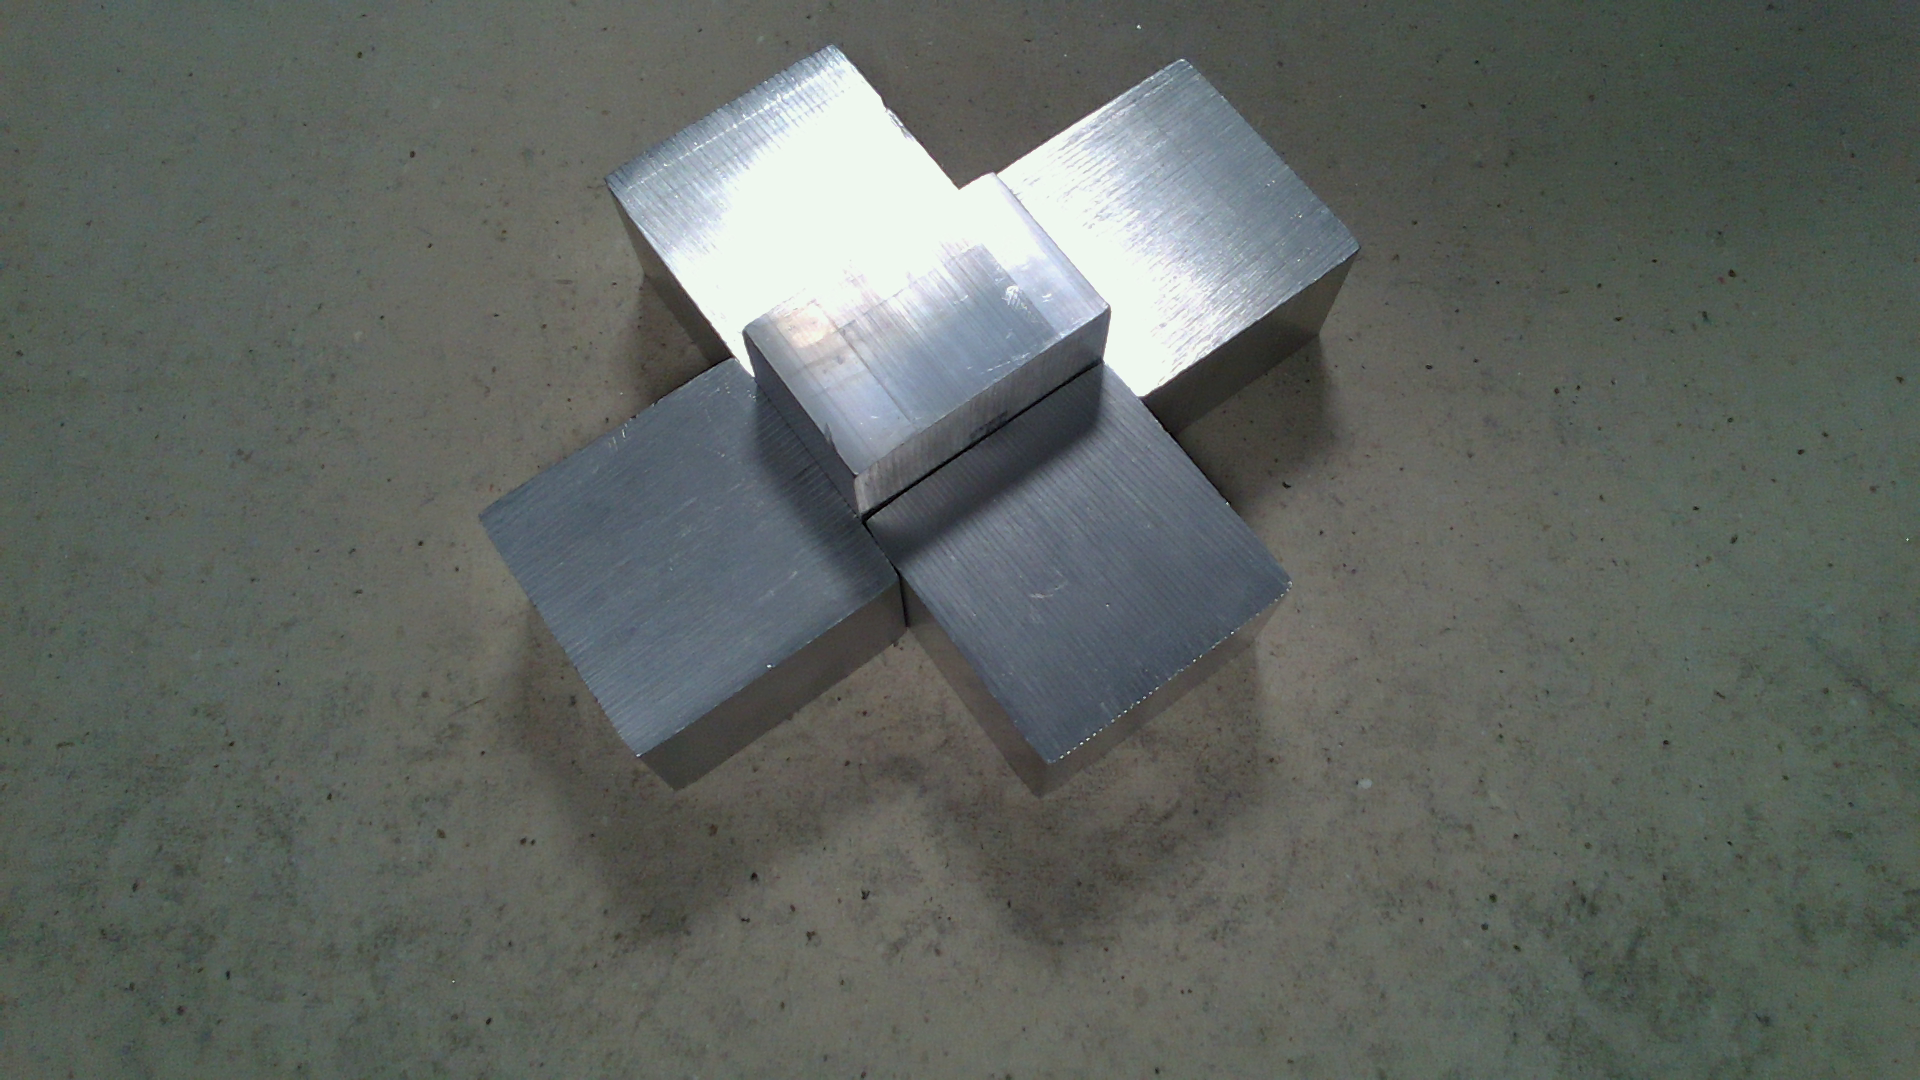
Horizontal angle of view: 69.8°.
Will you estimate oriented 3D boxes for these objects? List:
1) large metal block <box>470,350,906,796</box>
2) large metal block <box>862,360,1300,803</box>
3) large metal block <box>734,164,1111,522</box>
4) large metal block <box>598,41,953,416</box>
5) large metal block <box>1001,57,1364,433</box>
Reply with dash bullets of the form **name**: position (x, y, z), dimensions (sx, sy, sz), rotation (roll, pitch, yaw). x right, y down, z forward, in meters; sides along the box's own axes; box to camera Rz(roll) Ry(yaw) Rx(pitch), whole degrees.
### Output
- **large metal block**: position (-0.071, 0.010, 0.377), dimensions (0.080, 0.050, 0.080), rotation (-35, 74, -12)
- **large metal block**: position (0.031, 0.012, 0.376), dimensions (0.080, 0.050, 0.080), rotation (-35, 74, -12)
- **large metal block**: position (-0.009, -0.043, 0.381), dimensions (0.080, 0.080, 0.050), rotation (-35, 74, -12)
- **large metal block**: position (-0.047, -0.087, 0.412), dimensions (0.080, 0.050, 0.080), rotation (-35, 74, -12)
- **large metal block**: position (0.057, -0.081, 0.410), dimensions (0.080, 0.050, 0.080), rotation (-35, 74, -12)
